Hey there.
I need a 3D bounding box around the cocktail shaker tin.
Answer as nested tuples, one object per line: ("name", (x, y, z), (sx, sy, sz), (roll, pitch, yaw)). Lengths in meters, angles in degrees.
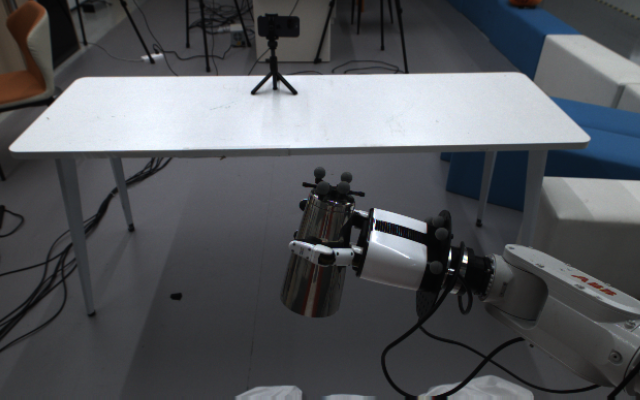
("cocktail shaker tin", (0.002, 0.071, 0.701), (0.093, 0.170, 0.093), (11, 19, -4))
